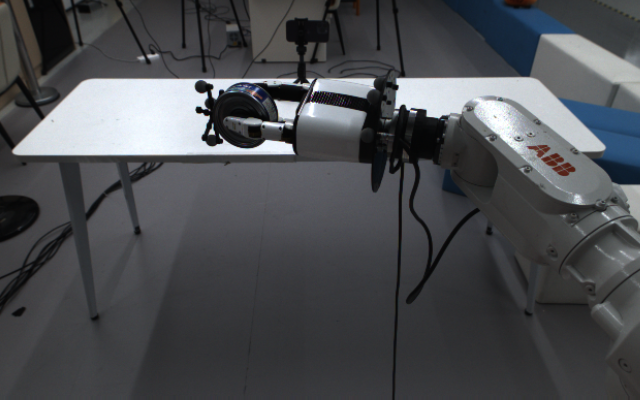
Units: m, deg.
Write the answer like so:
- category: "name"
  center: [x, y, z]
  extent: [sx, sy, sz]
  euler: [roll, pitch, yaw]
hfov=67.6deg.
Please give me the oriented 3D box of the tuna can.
- category: "tuna can"
  center: [-0.103, -0.117, 0.666]
  extent: [0.085, 0.085, 0.034]
  euler: [9, 34, 10]
